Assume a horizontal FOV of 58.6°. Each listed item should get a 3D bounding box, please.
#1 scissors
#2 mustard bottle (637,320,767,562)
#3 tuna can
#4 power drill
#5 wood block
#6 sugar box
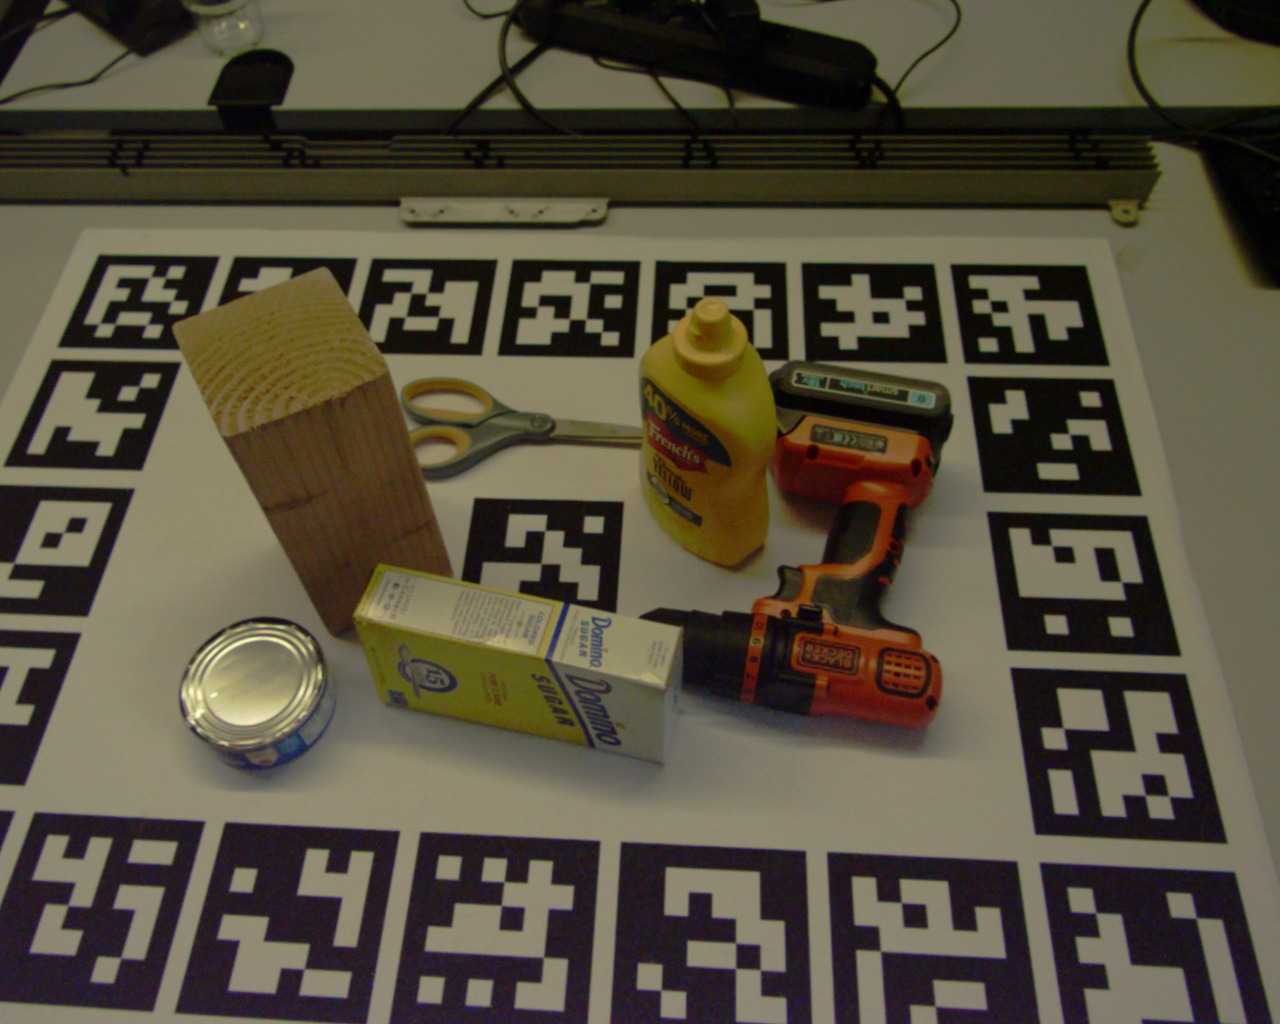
[{"bbox_3d":[-0.097,-0.062,0.816,0.203,0.016,0.088,3,54,5],"label":"scissors"},{"bbox_3d":[0.037,-0.050,0.708,0.058,0.190,0.097,-34,63,-17],"label":"mustard bottle"},{"bbox_3d":[-0.227,0.104,0.703,0.086,0.033,0.086,-1,58,1],"label":"tuna can"},{"bbox_3d":[0.084,0.025,0.726,0.185,0.057,0.187,12,66,11],"label":"power drill"},{"bbox_3d":[-0.183,-0.025,0.697,0.090,0.205,0.091,-23,61,-12],"label":"wood block"},{"bbox_3d":[-0.062,0.087,0.675,0.177,0.092,0.045,12,55,8],"label":"sugar box"}]
